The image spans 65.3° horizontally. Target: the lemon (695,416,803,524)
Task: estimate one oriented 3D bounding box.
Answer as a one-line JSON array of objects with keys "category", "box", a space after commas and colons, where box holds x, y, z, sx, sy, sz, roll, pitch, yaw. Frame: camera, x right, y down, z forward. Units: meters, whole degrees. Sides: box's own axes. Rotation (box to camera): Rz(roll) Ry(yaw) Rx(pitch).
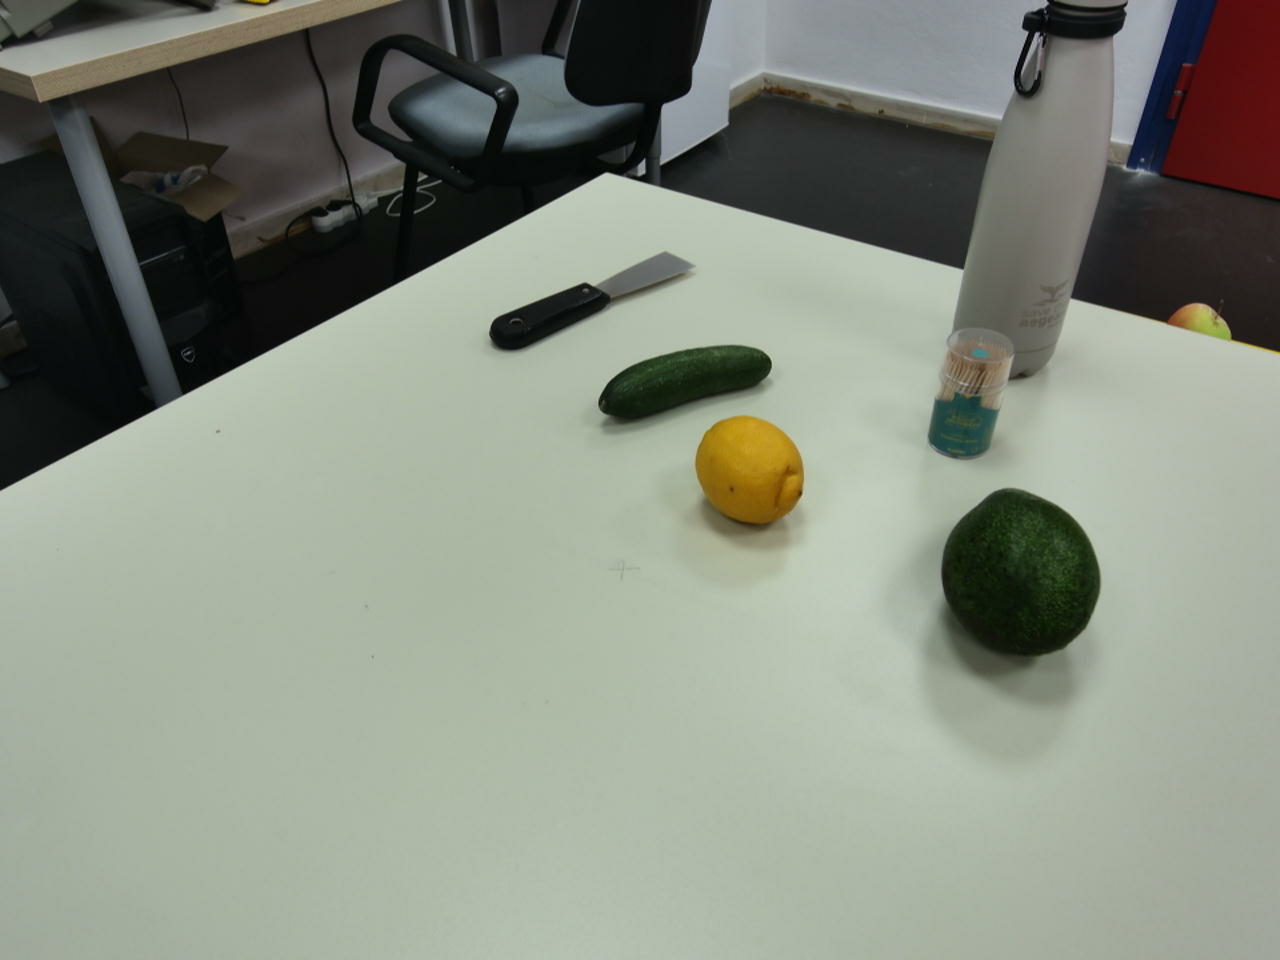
[{"category": "lemon", "box": [0.064, -0.005, 0.587, 0.061, 0.059, 0.067, -6, 38, -8]}]
